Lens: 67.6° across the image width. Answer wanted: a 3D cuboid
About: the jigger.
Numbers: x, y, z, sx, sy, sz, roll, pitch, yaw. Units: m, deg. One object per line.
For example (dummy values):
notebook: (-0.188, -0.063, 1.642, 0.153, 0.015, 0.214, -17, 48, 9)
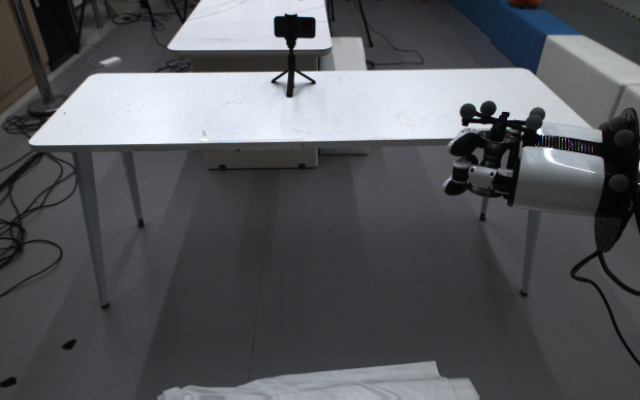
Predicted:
jigger: (0.206, -0.043, 0.577, 0.043, 0.071, 0.043, 3, 25, -1)
